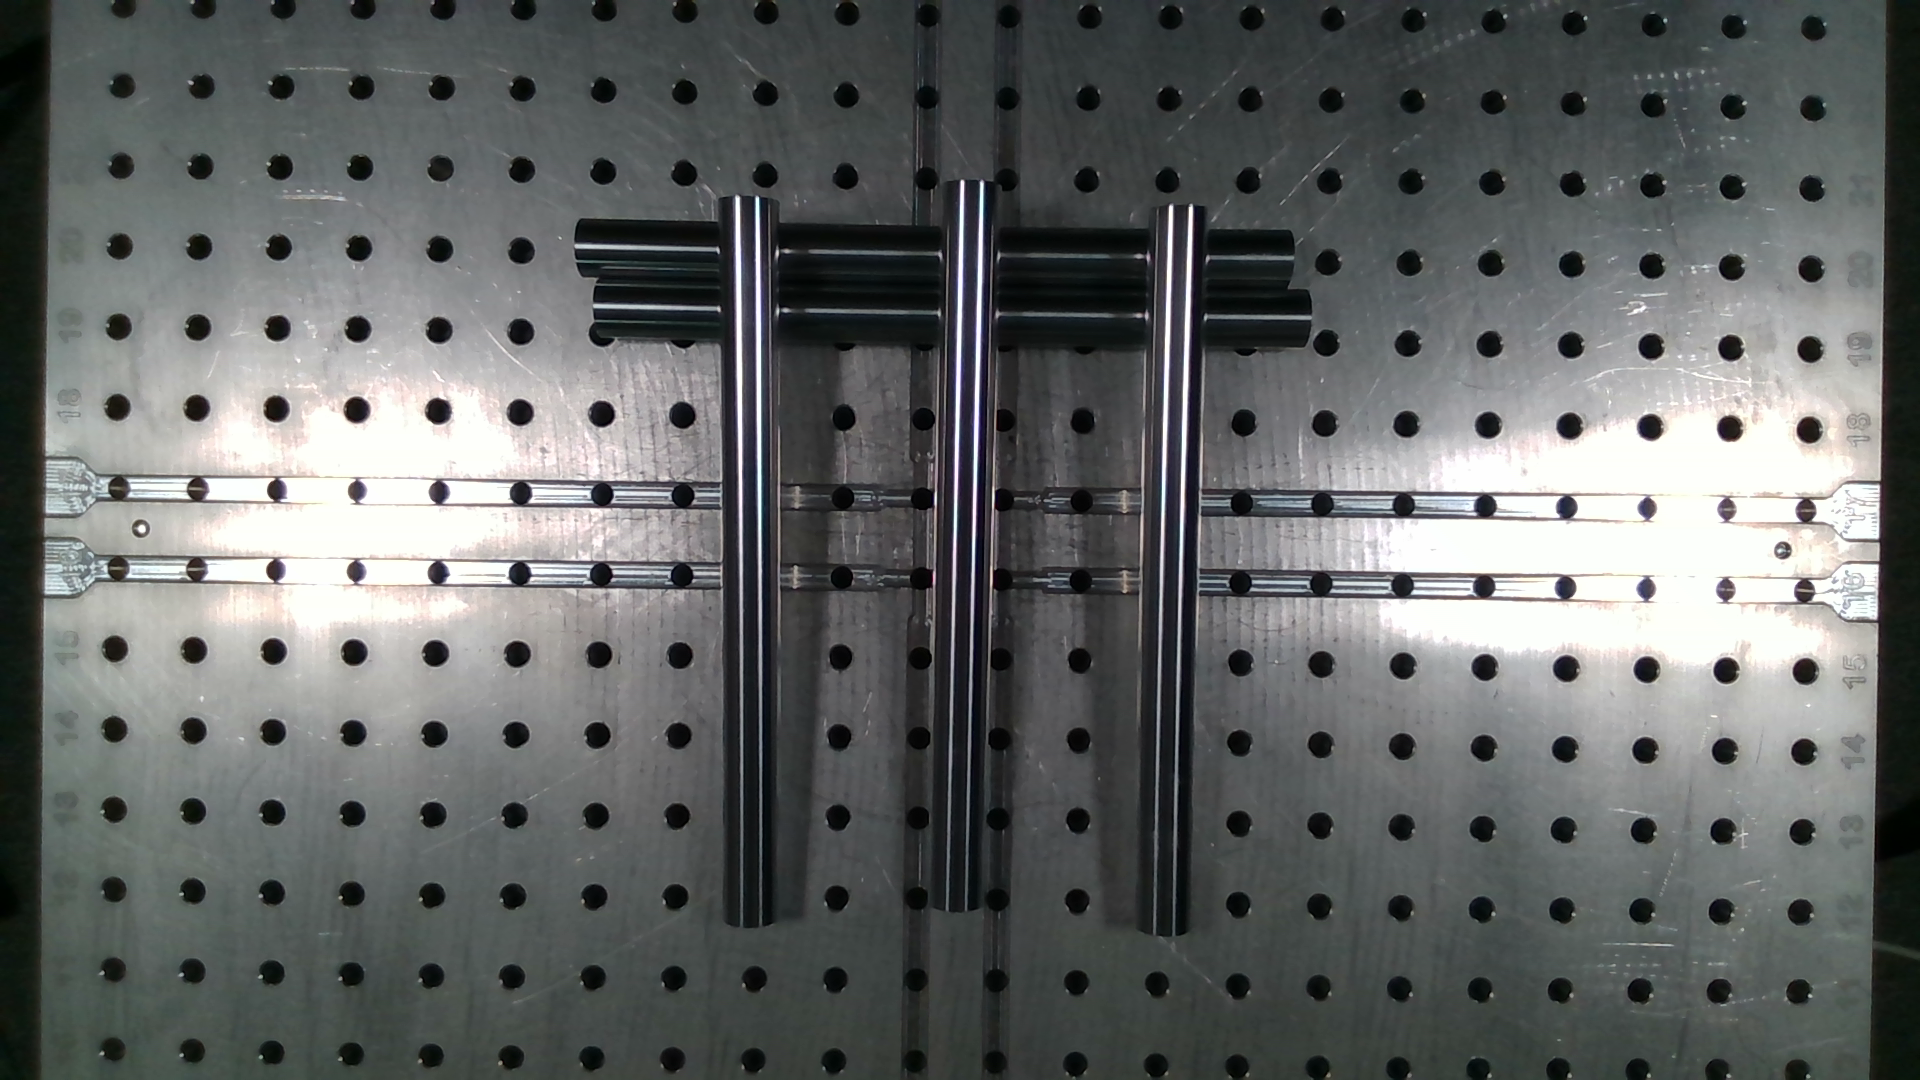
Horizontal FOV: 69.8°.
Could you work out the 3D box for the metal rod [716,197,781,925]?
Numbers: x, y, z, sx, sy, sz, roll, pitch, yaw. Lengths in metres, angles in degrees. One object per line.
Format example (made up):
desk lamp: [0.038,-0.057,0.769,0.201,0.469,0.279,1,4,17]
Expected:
metal rod: [-0.088,0.012,0.575,0.025,0.025,0.300,1,97,0]

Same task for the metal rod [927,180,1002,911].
metal rod: [0.001,0.005,0.574,0.025,0.025,0.300,1,97,0]

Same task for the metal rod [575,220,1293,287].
metal rod: [-0.011,-0.122,0.588,0.300,0.025,0.025,1,90,0]

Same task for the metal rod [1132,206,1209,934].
metal rod: [0.087,0.015,0.575,0.025,0.025,0.300,0,96,0]

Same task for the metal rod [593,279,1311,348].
metal rod: [-0.003,-0.097,0.588,0.300,0.025,0.025,1,90,0]
